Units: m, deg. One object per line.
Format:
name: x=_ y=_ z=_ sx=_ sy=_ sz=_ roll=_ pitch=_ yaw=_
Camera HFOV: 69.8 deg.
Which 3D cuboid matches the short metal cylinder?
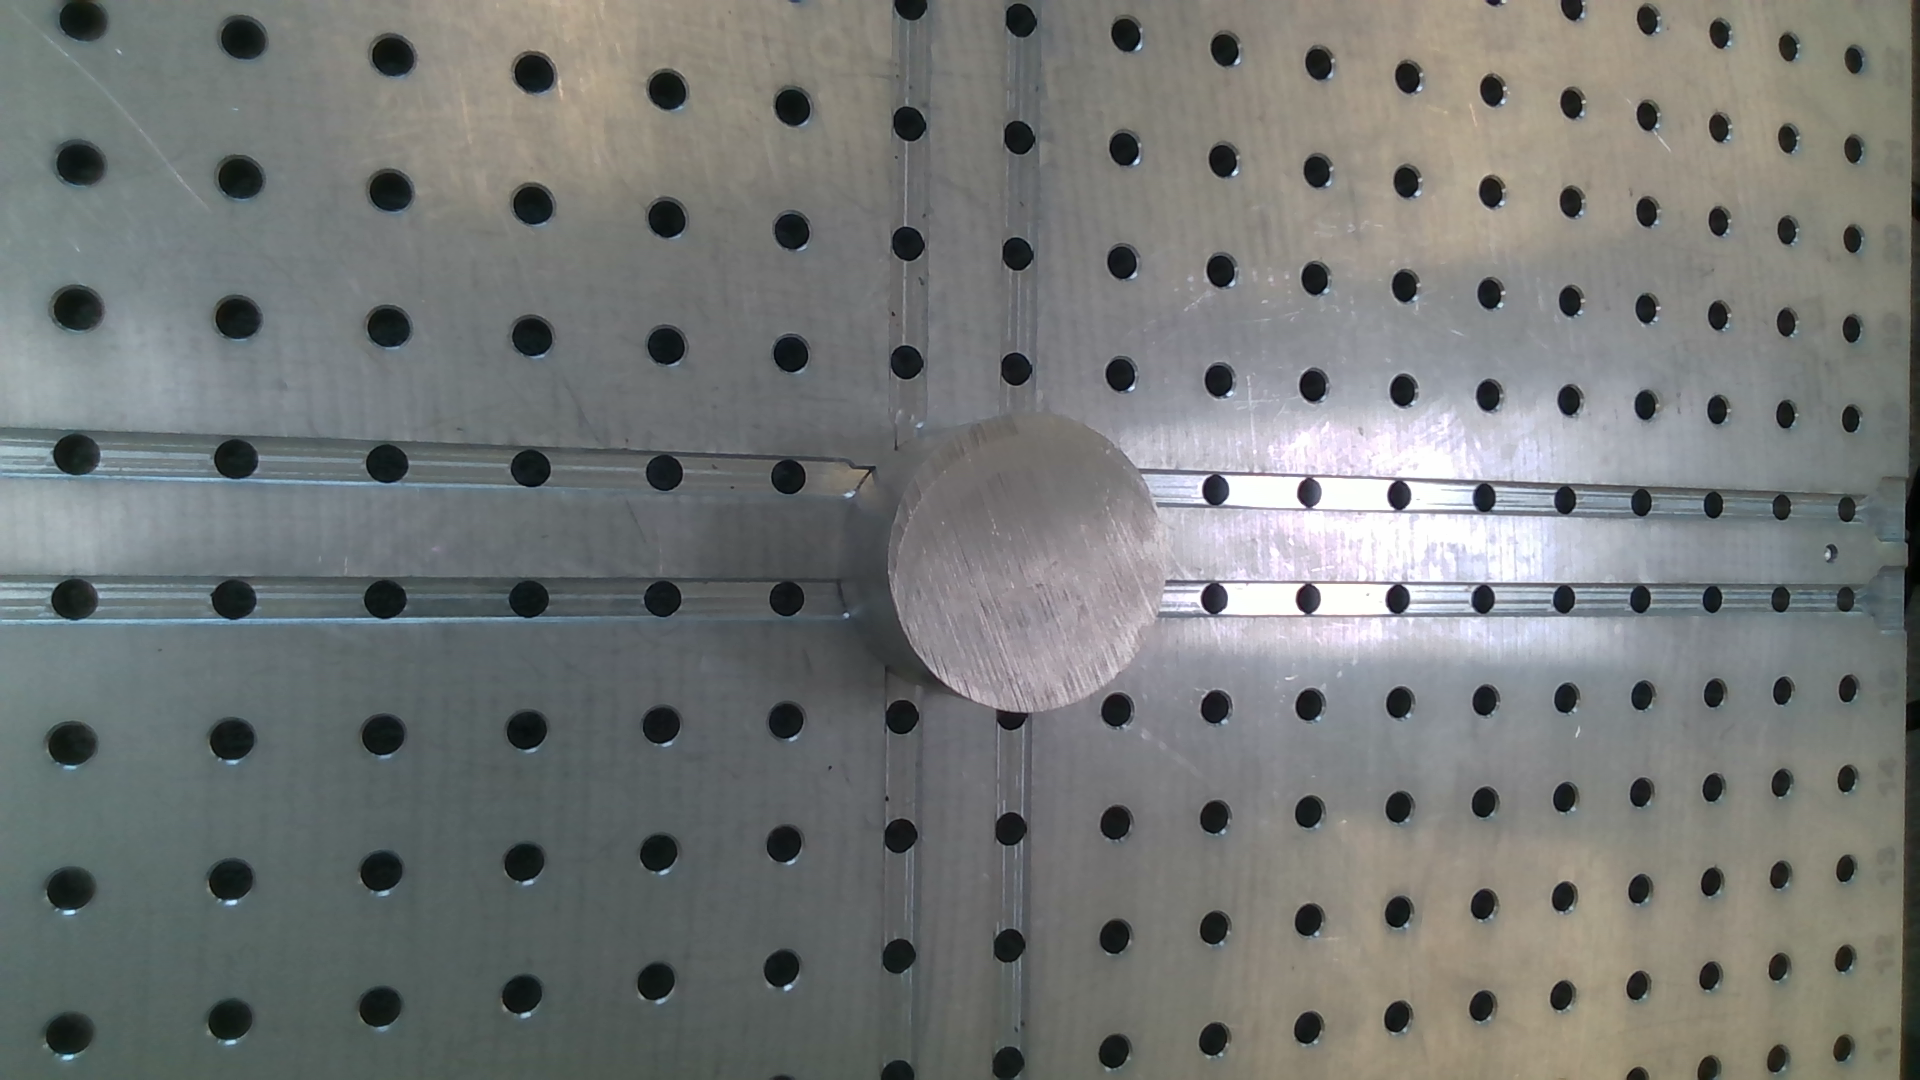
short metal cylinder: x=0.010 y=0.005 z=0.387 sx=0.080 sy=0.050 sz=0.080 roll=0 pitch=90 yaw=-20
